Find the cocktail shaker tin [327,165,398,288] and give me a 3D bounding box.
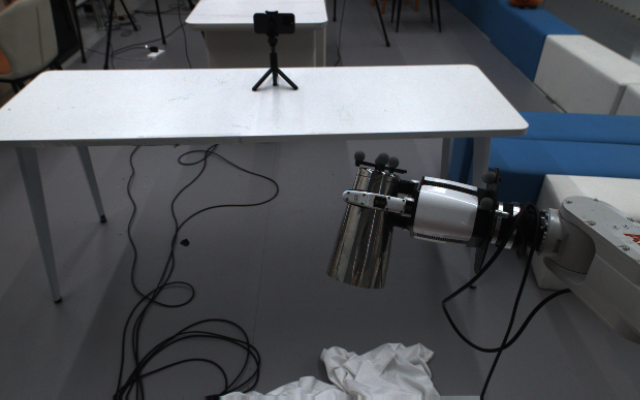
[{"bbox_3d":[0.074,0.037,0.746,0.093,0.170,0.093,13,3,-1],"label":"cocktail shaker tin"}]
